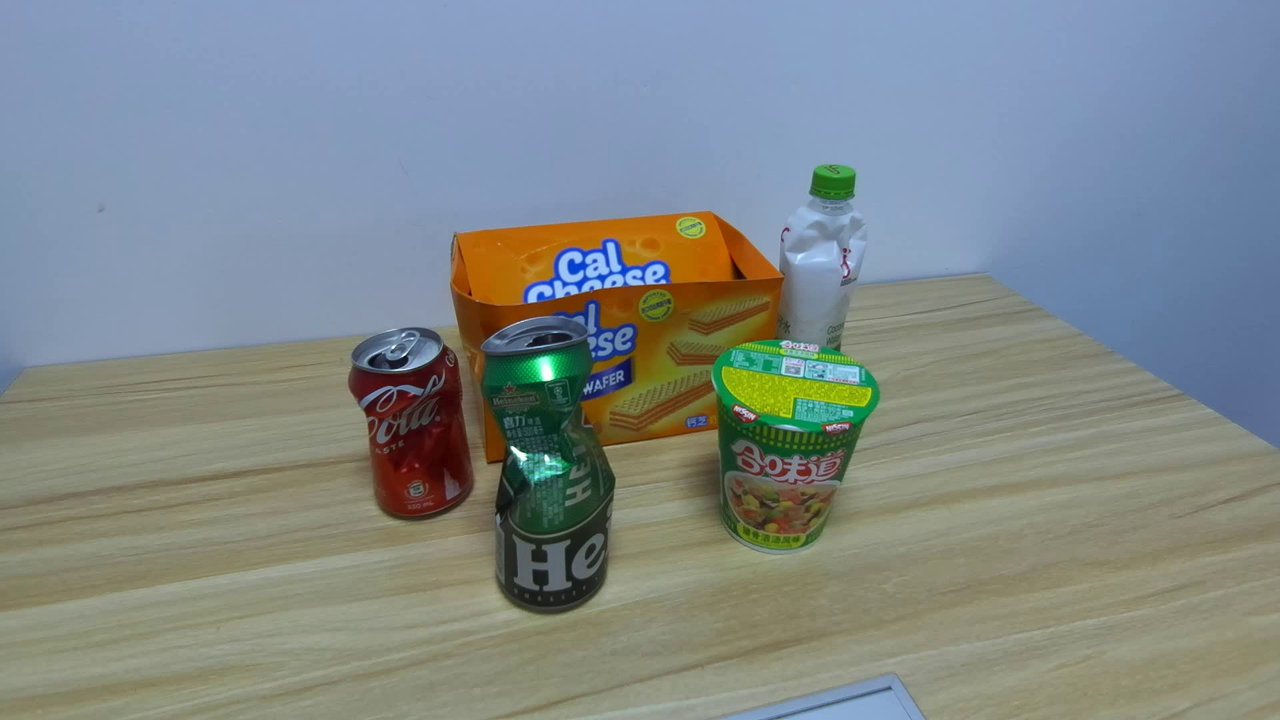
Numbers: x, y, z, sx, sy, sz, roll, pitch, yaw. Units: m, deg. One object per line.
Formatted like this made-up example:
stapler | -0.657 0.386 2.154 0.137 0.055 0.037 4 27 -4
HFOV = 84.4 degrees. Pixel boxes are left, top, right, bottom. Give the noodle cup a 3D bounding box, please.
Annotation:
noodle cup | 0.087 0.057 0.436 0.097 0.110 0.097 2 32 -1

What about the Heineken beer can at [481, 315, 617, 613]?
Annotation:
Heineken beer can | -0.049 0.060 0.388 0.067 0.159 0.078 -19 28 -37

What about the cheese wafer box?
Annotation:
cheese wafer box | -0.025 -0.024 0.555 0.231 0.132 0.151 -6 33 -15

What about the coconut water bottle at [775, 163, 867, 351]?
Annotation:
coconut water bottle | 0.136 -0.055 0.549 0.069 0.186 0.069 0 32 0

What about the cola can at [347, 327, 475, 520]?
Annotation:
cola can | -0.146 0.040 0.456 0.066 0.117 0.066 -12 31 -21
